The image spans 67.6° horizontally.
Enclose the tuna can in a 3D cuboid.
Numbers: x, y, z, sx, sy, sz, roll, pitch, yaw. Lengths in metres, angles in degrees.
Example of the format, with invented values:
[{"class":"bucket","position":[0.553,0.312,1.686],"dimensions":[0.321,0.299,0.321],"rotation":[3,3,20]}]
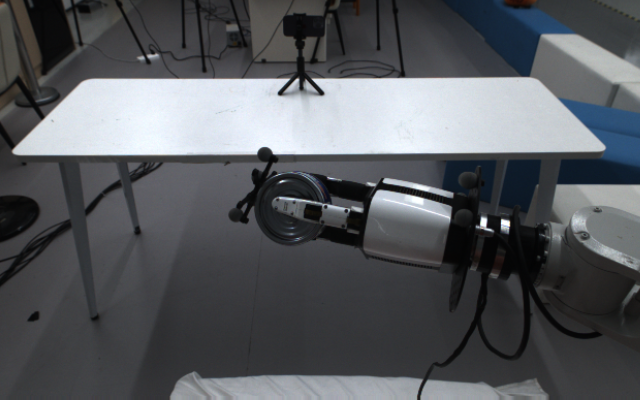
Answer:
[{"class":"tuna can","position":[-0.027,0.012,0.558],"dimensions":[0.085,0.085,0.034],"rotation":[8,5,9]}]
